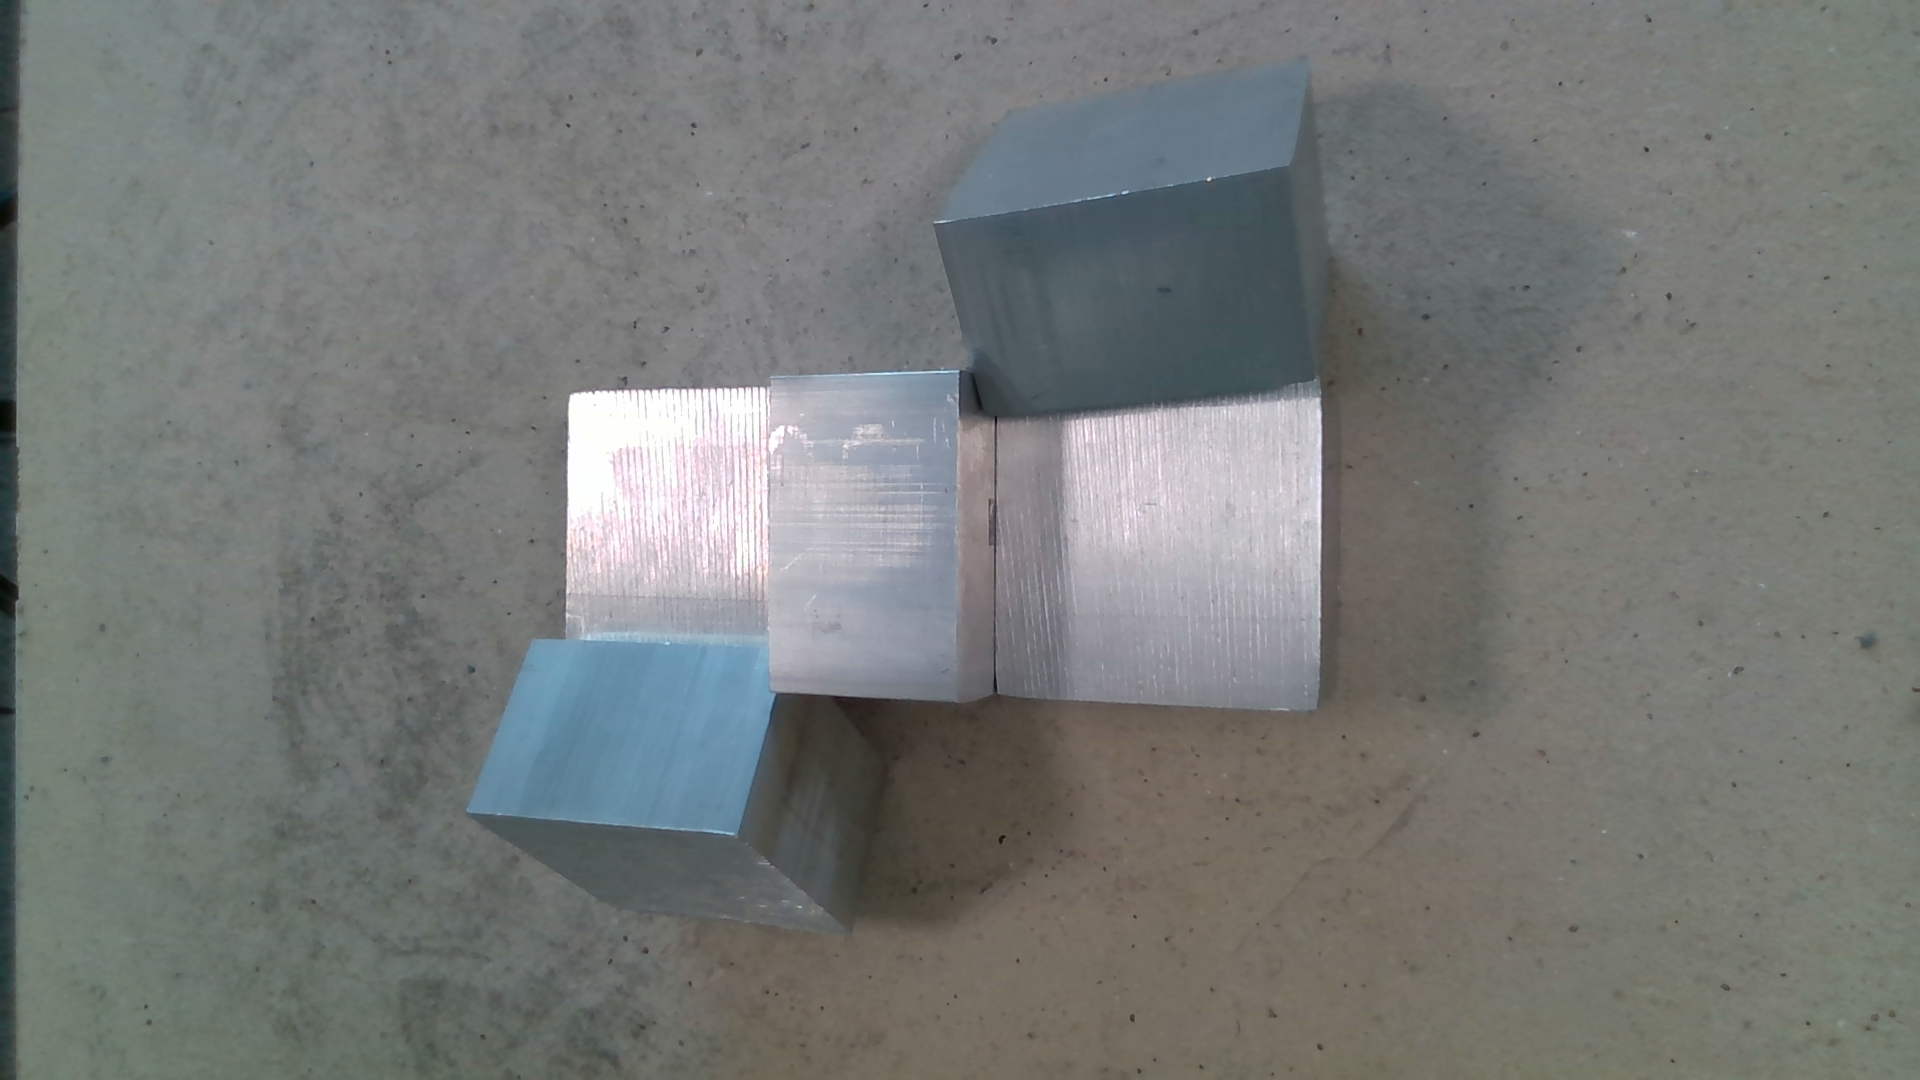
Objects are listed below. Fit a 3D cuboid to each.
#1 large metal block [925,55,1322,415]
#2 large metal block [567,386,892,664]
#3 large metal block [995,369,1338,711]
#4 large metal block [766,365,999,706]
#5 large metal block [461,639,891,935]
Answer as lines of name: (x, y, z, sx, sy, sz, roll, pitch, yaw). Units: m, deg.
large metal block: (0.046, -0.076, 0.340, 0.080, 0.080, 0.050, -4, 123, 20)
large metal block: (-0.067, -0.002, 0.405, 0.080, 0.050, 0.080, 1, 90, 21)
large metal block: (0.055, 0.000, 0.359, 0.080, 0.050, 0.080, 0, 90, 20)
large metal block: (-0.010, -0.001, 0.369, 0.050, 0.080, 0.080, 0, 90, 20)
large metal block: (-0.075, 0.070, 0.385, 0.080, 0.080, 0.050, 0, 58, 20)
